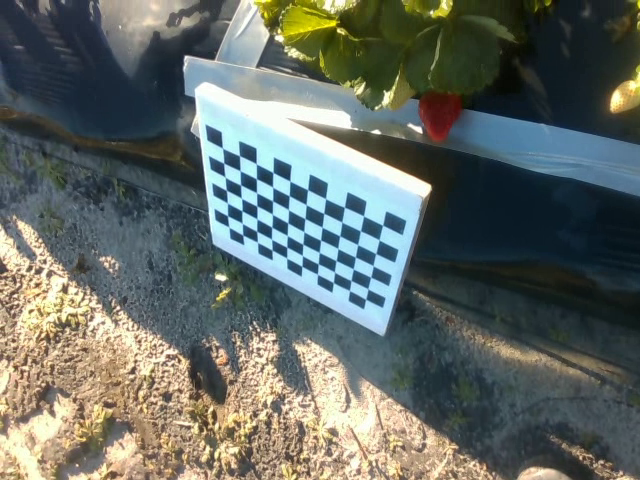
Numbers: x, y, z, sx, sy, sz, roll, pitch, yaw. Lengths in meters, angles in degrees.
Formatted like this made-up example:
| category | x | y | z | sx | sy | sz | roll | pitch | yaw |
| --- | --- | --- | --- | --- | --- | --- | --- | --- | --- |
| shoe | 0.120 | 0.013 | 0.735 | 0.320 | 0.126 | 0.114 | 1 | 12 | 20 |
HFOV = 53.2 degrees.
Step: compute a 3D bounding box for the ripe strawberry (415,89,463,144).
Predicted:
| category | x | y | z | sx | sy | sz | roll | pitch | yaw |
| --- | --- | --- | --- | --- | --- | --- | --- | --- | --- |
| ripe strawberry | 0.113 | -0.120 | 0.606 | 0.048 | 0.064 | 0.045 | 16 | -27 | -17 |
